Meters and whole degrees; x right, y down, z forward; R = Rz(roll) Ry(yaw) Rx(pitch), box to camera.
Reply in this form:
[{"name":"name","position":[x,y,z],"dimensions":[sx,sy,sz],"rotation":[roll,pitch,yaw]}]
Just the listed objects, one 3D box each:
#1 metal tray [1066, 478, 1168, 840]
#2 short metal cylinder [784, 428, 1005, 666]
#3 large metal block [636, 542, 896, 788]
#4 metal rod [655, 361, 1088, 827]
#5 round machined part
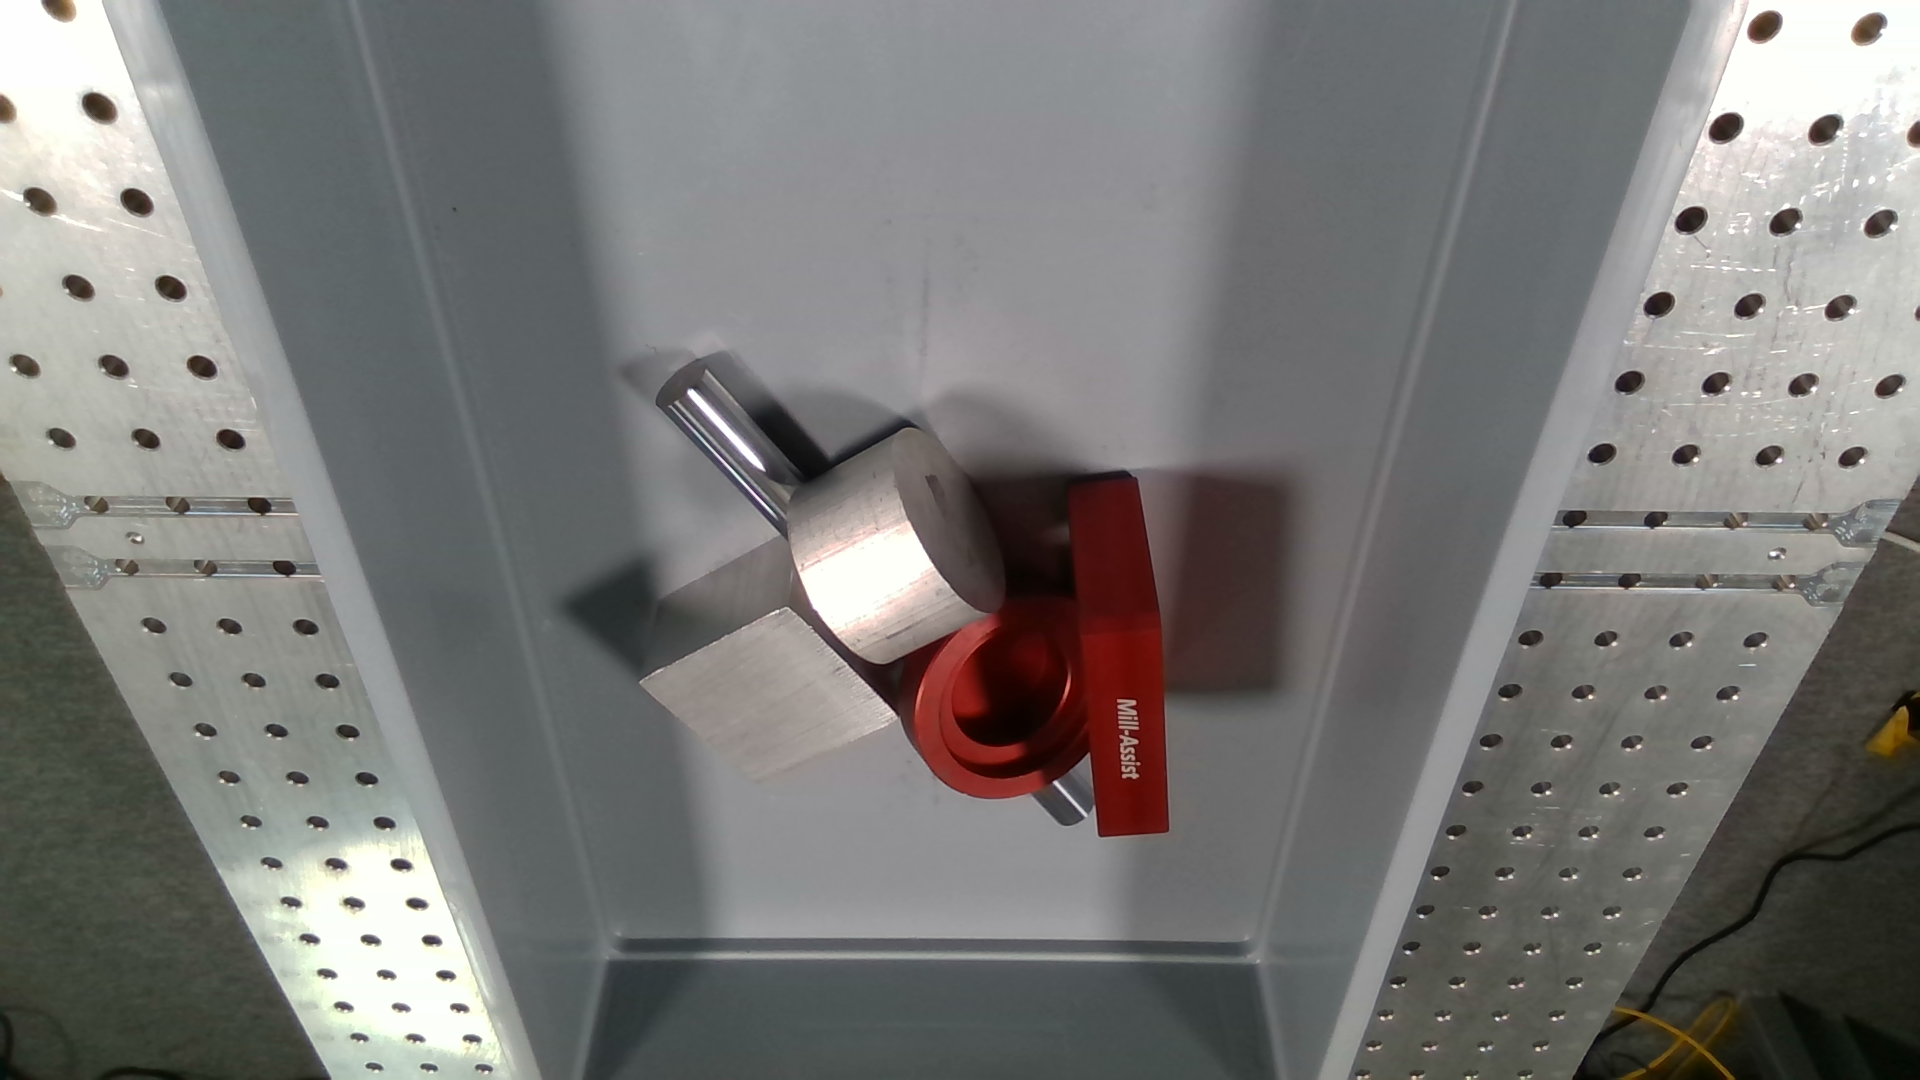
[{"name":"metal tray","position":[0.066,0.051,0.577],"dimensions":[0.030,0.090,0.130],"rotation":[-5,130,4]},{"name":"short metal cylinder","position":[-0.025,0.003,0.545],"dimensions":[0.050,0.080,0.080],"rotation":[-27,125,21]},{"name":"large metal block","position":[-0.081,0.053,0.604],"dimensions":[0.080,0.050,0.080],"rotation":[-26,125,21]},{"name":"metal rod","position":[-0.025,0.037,0.608],"dimensions":[0.025,0.025,0.301],"rotation":[-26,125,21]},{"name":"round machined part","position":[0.018,0.061,0.600],"dimensions":[0.098,0.042,0.098],"rotation":[-10,116,-22]}]
